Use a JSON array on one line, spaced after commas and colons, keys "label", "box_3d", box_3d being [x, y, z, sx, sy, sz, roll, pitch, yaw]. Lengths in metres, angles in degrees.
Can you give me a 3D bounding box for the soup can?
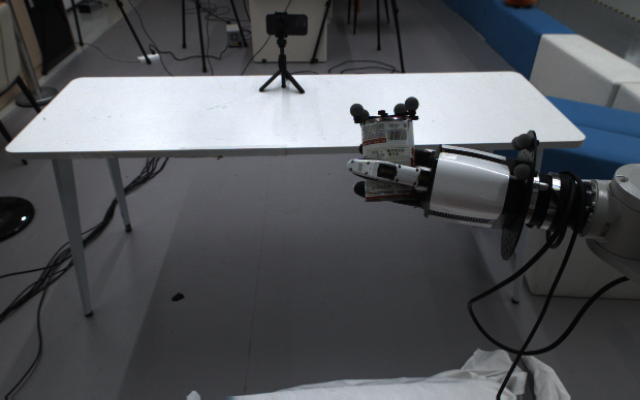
[{"label": "soup can", "box_3d": [0.090, -0.049, 0.618, 0.067, 0.101, 0.067, -3, -1, 0]}]
